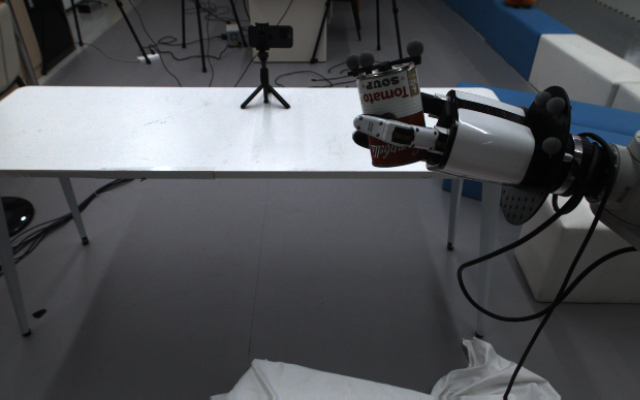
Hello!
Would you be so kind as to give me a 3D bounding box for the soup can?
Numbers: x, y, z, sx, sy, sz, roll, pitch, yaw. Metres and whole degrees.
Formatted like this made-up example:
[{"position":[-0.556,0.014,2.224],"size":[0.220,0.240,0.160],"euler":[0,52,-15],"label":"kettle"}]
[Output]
[{"position":[0.084,-0.096,0.544],"size":[0.067,0.101,0.067],"euler":[-12,17,4],"label":"soup can"}]
